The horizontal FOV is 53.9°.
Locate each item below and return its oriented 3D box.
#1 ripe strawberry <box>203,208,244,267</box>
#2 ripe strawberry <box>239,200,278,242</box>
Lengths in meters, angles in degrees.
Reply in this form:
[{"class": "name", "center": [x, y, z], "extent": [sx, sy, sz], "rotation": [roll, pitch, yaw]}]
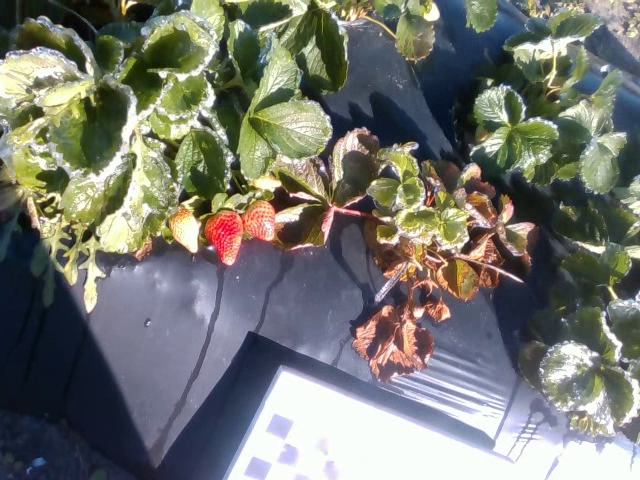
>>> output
[{"class": "ripe strawberry", "center": [-0.082, 0.002, 0.546], "extent": [0.036, 0.052, 0.040], "rotation": [-13, -23, -7]}, {"class": "ripe strawberry", "center": [-0.052, -0.016, 0.565], "extent": [0.036, 0.041, 0.030], "rotation": [-37, 10, 0]}]
